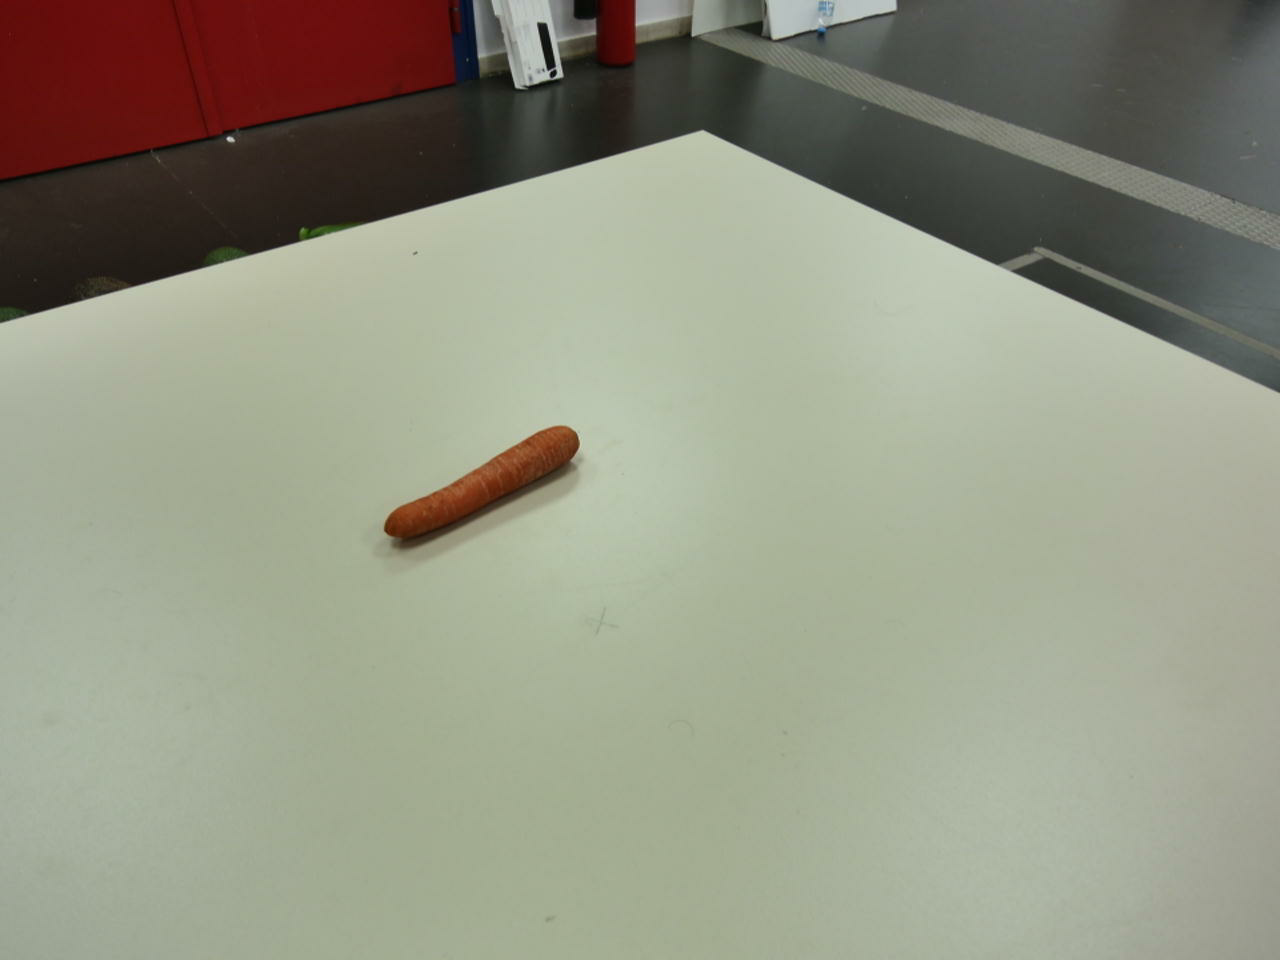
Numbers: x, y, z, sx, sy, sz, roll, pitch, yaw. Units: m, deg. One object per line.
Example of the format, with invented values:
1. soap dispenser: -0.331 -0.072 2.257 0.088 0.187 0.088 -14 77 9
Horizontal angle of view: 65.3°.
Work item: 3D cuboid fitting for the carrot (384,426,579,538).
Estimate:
1. carrot: -0.083 0.000 0.538 0.122 0.023 0.024 -27 46 -31
